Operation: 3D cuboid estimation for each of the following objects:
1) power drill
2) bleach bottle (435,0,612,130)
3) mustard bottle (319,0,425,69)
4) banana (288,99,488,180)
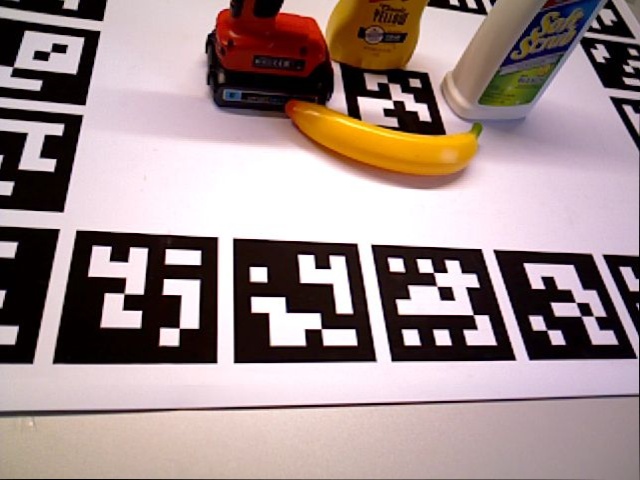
[{"bbox_3d":[-0.020,-0.218,0.432,0.182,0.192,0.056,2,51,-18],"label":"power drill"},{"bbox_3d":[0.203,-0.209,0.486,0.101,0.257,0.067,-4,60,-19],"label":"bleach bottle"},{"bbox_3d":[0.067,-0.253,0.502,0.095,0.196,0.057,4,56,-15],"label":"mustard bottle"},{"bbox_3d":[0.068,-0.092,0.492,0.195,0.040,0.073,5,61,-11],"label":"banana"}]
